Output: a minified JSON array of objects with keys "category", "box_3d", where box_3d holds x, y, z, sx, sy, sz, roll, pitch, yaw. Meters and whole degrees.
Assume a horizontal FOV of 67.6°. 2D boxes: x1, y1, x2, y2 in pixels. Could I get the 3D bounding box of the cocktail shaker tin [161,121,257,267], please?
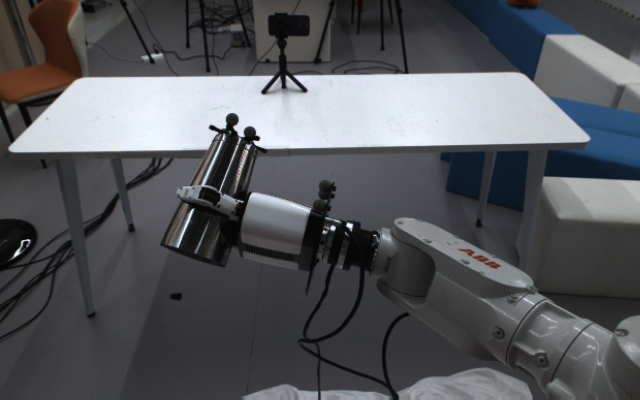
[{"category":"cocktail shaker tin","box_3d":[-0.148,-0.002,0.671,0.093,0.093,0.170,14,74,17]}]
